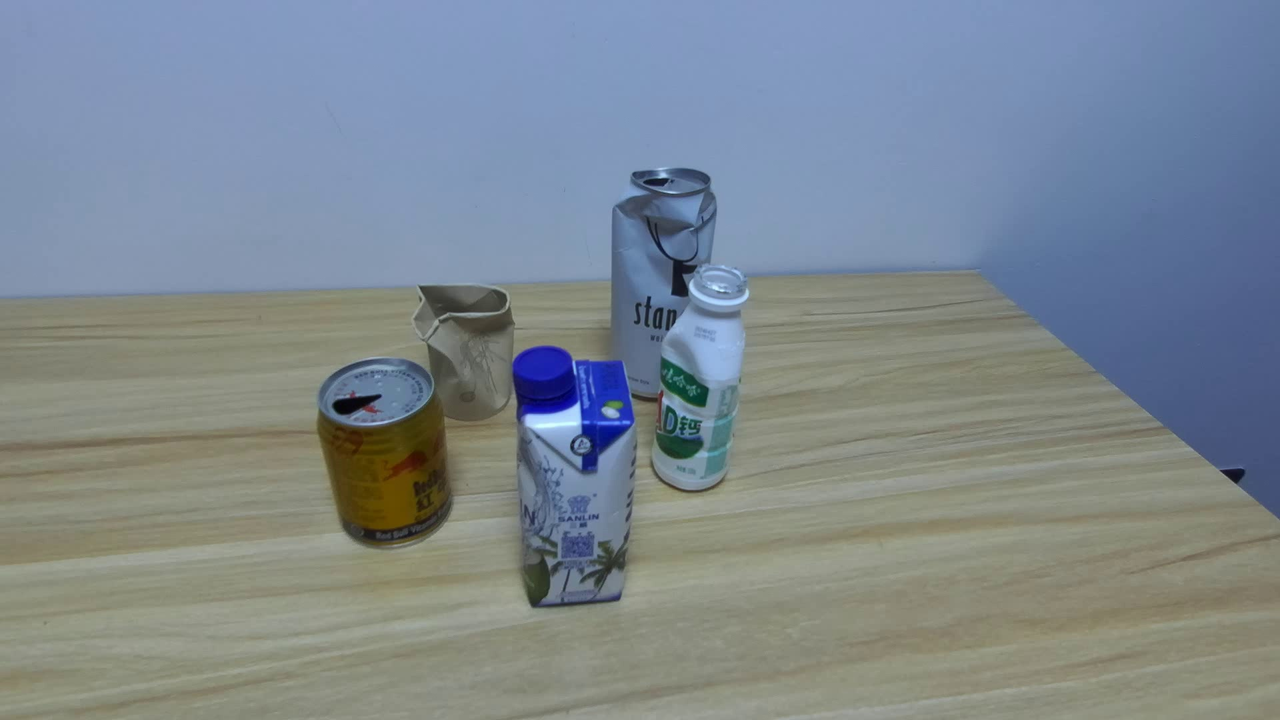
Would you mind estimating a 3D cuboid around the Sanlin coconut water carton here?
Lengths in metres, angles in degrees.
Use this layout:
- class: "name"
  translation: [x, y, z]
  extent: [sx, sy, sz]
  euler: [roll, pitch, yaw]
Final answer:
- class: "Sanlin coconut water carton"
  translation: [-0.033, 0.060, 0.365]
  extent: [0.061, 0.144, 0.060]
  euler: [-1, 35, -9]

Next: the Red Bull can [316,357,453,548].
- class: "Red Bull can"
  translation: [-0.144, 0.053, 0.404]
  extent: [0.067, 0.093, 0.067]
  euler: [4, 35, -3]

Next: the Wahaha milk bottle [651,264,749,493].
- class: "Wahaha milk bottle"
  translation: [0.040, 0.013, 0.433]
  extent: [0.055, 0.149, 0.055]
  euler: [5, 34, -3]

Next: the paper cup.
- class: "paper cup"
  translation: [-0.122, -0.003, 0.495]
  extent: [0.066, 0.083, 0.058]
  euler: [0, 37, -4]

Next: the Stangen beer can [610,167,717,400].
- class: "Stangen beer can"
  translation: [0.017, -0.051, 0.506]
  extent: [0.065, 0.166, 0.066]
  euler: [16, 35, 19]
